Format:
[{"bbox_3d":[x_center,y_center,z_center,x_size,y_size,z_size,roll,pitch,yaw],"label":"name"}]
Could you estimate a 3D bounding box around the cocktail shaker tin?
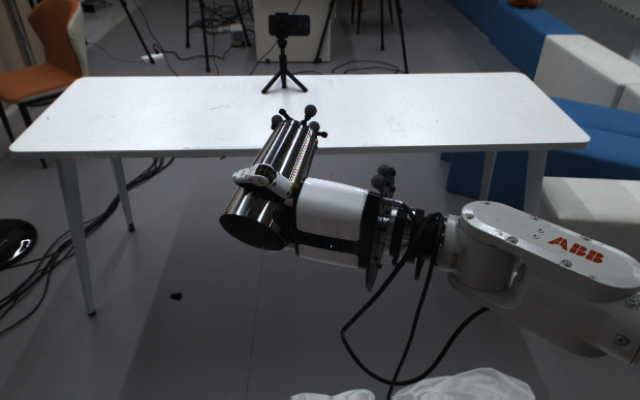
[{"bbox_3d":[-0.063,-0.027,0.665,0.093,0.093,0.170,13,60,16],"label":"cocktail shaker tin"}]
